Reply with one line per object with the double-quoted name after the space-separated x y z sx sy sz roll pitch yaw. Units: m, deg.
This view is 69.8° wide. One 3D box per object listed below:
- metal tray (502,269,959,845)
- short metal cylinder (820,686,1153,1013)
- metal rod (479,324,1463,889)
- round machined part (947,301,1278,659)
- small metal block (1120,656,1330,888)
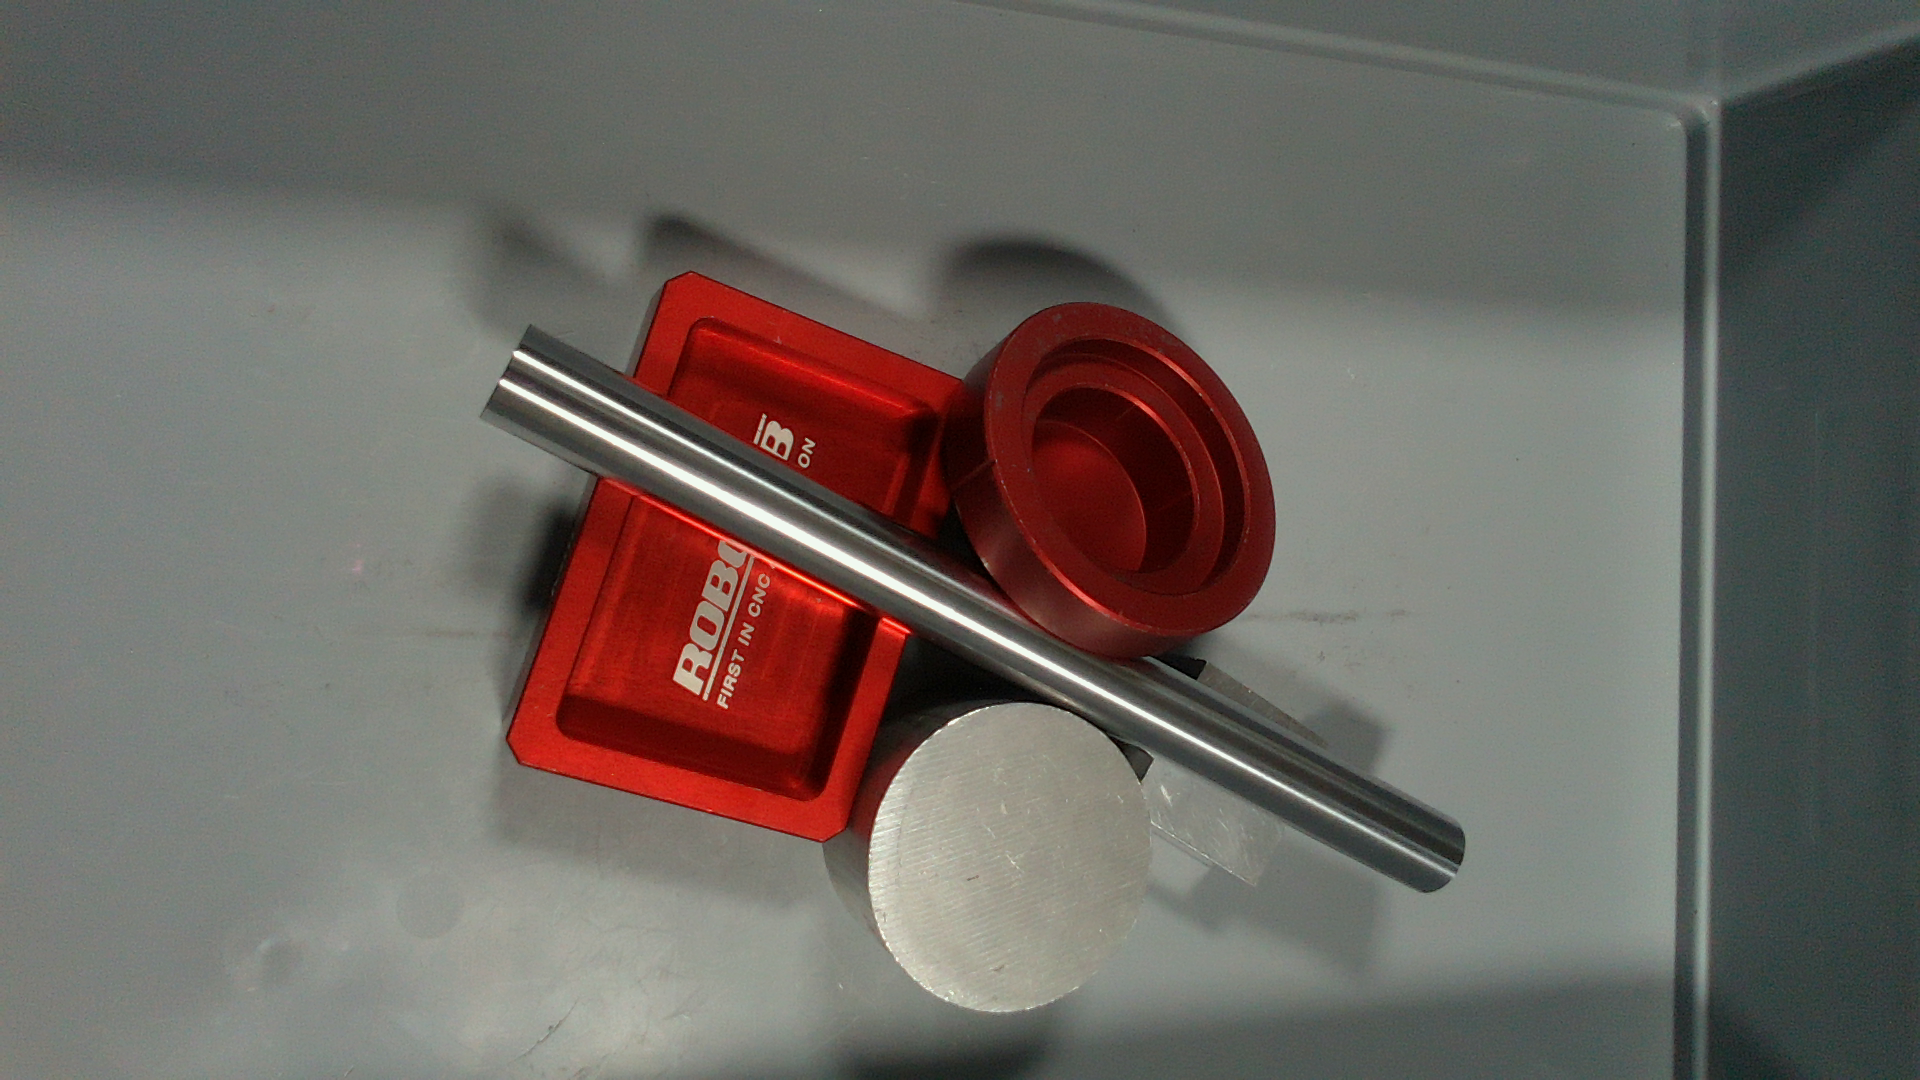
-0.058 0.006 0.368 0.090 0.030 0.130 19 84 -19 "metal tray"
0.006 0.083 0.381 0.080 0.050 0.080 0 90 -20 "short metal cylinder"
0.020 0.028 0.369 0.301 0.025 0.025 28 81 -20 "metal rod"
0.038 -0.013 0.384 0.098 0.042 0.098 14 61 -28 "round machined part"
0.076 0.070 0.420 0.050 0.025 0.050 33 79 -17 "small metal block"
